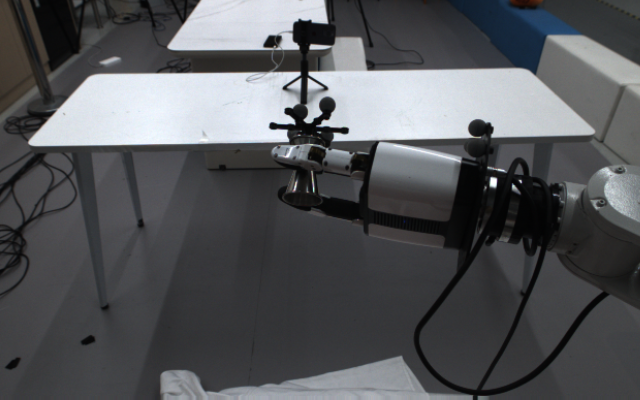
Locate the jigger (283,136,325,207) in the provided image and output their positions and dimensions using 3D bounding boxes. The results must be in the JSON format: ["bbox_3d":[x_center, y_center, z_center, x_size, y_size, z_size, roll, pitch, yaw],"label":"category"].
[{"bbox_3d":[-0.017,-0.032,0.529,0.043,0.043,0.071,4,71,3],"label":"jigger"}]
